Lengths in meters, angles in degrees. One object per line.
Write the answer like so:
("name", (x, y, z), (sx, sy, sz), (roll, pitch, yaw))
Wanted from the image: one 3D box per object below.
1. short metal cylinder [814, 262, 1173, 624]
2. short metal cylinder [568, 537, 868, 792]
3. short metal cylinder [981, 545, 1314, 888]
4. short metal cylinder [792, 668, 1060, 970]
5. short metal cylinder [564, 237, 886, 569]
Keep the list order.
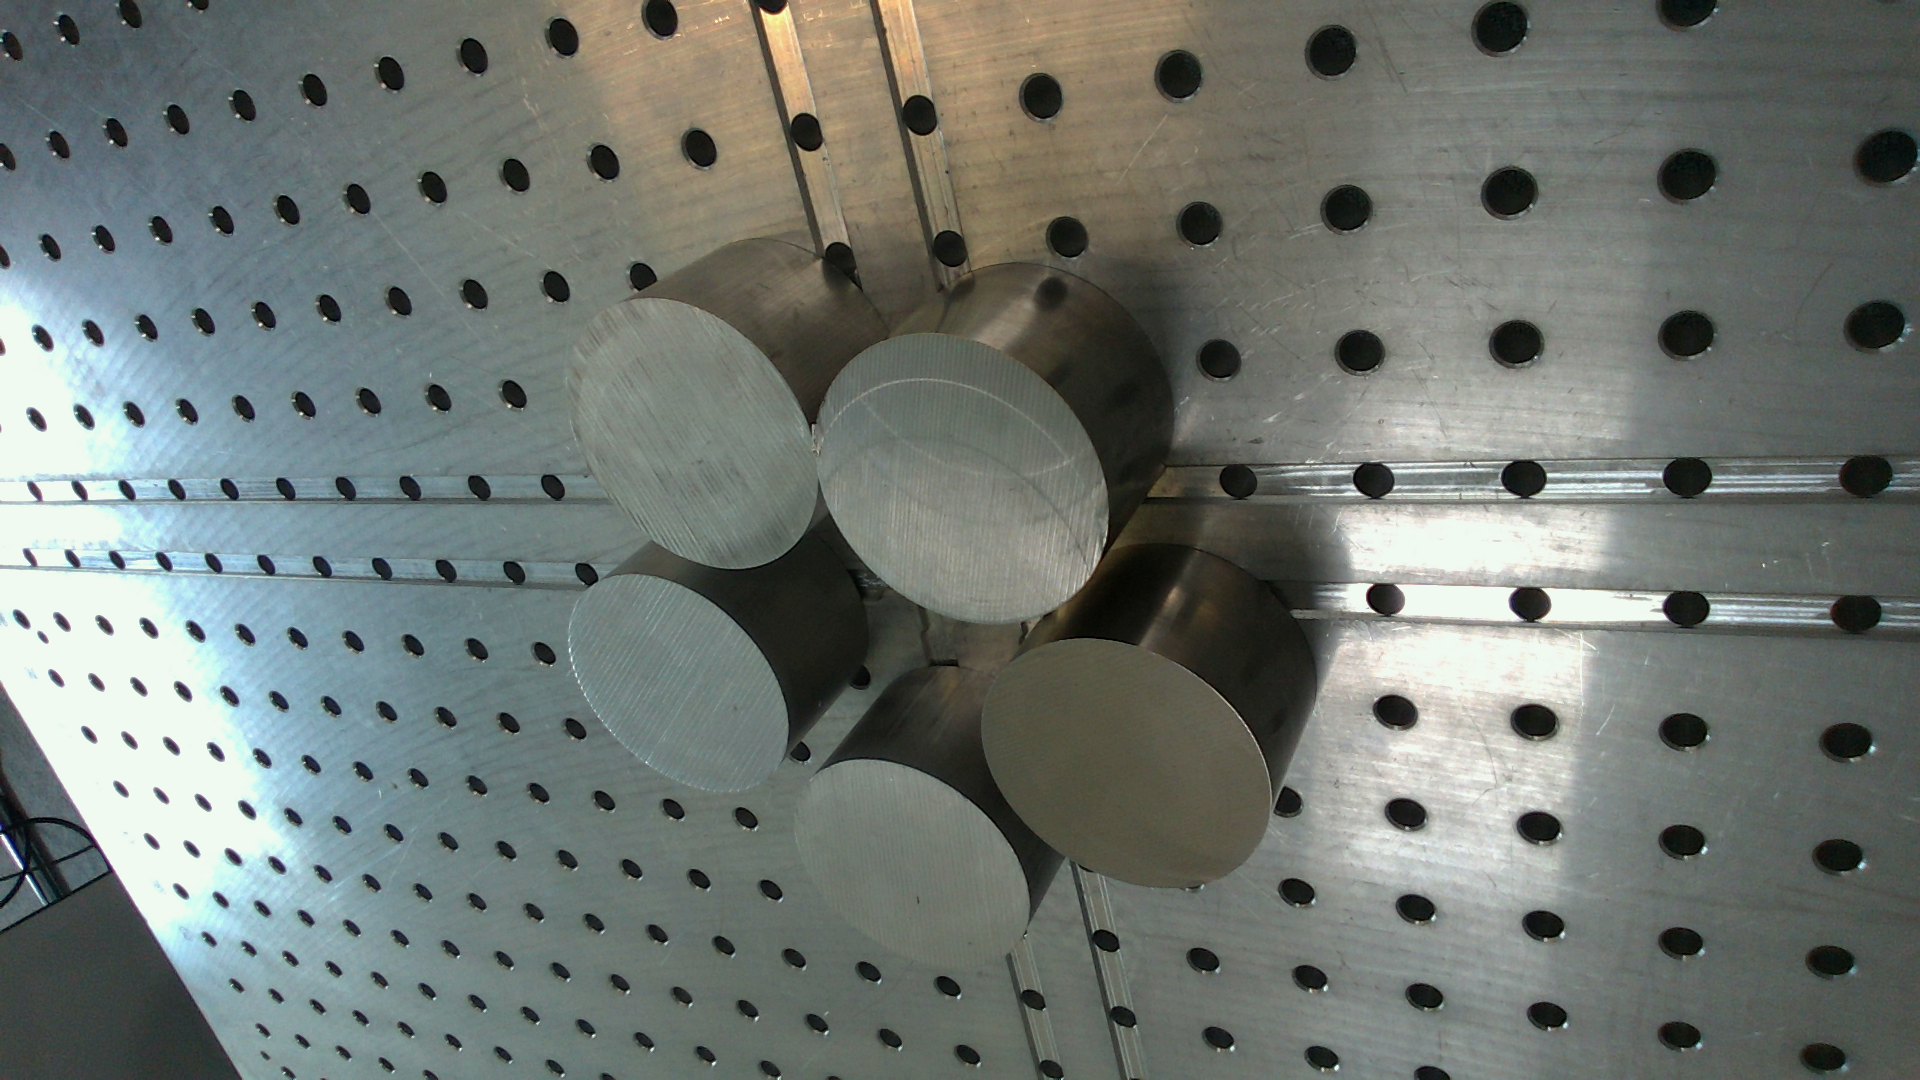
("short metal cylinder", (0.009, -0.026, 0.358), (0.080, 0.050, 0.080), (14, 124, 21))
("short metal cylinder", (-0.077, 0.033, 0.441), (0.080, 0.050, 0.080), (13, 124, 21))
("short metal cylinder", (0.052, 0.048, 0.381), (0.080, 0.050, 0.080), (14, 125, 20))
("short metal cylinder", (-0.006, 0.088, 0.436), (0.080, 0.050, 0.080), (14, 124, 22))
("short metal cylinder", (-0.063, -0.039, 0.389), (0.080, 0.050, 0.080), (13, 124, 21))
